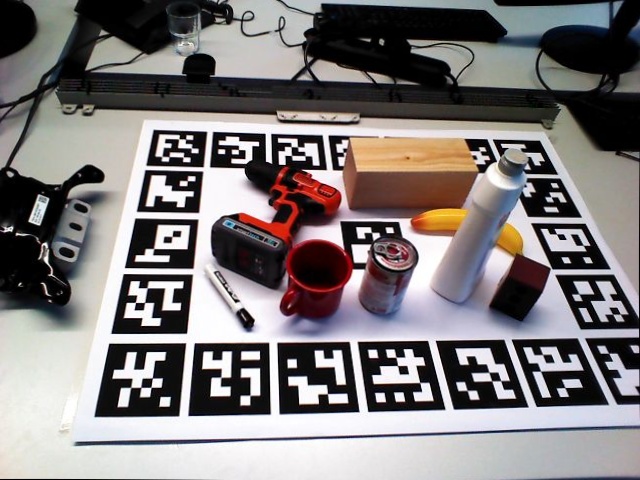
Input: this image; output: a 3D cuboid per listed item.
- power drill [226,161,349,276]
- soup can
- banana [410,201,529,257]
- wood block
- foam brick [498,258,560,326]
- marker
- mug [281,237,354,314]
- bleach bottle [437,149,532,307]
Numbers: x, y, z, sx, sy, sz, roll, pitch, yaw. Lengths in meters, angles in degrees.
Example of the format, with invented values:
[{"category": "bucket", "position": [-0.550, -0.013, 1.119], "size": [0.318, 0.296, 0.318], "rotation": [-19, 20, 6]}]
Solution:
[{"category": "power drill", "position": [-0.067, -0.042, 0.824], "size": [0.185, 0.057, 0.185], "rotation": [25, 50, 11]}, {"category": "soup can", "position": [0.098, 0.046, 0.722], "size": [0.068, 0.102, 0.067], "rotation": [4, 45, -5]}, {"category": "banana", "position": [0.247, -0.028, 0.850], "size": [0.198, 0.039, 0.074], "rotation": [14, 63, 3]}, {"category": "wood block", "position": [0.164, -0.111, 0.884], "size": [0.206, 0.091, 0.089], "rotation": [0, 50, -6]}, {"category": "foam brick", "position": [0.300, 0.075, 0.746], "size": [0.053, 0.078, 0.051], "rotation": [26, 49, 18]}, {"category": "marker", "position": [-0.129, 0.079, 0.733], "size": [0.019, 0.020, 0.121], "rotation": [-25, 57, -22]}, {"category": "mug", "position": [-0.011, 0.057, 0.720], "size": [0.093, 0.082, 0.116], "rotation": [36, 58, 21]}, {"category": "bleach bottle", "position": [0.227, -0.020, 0.702], "size": [0.068, 0.252, 0.102], "rotation": [23, 49, 14]}]
